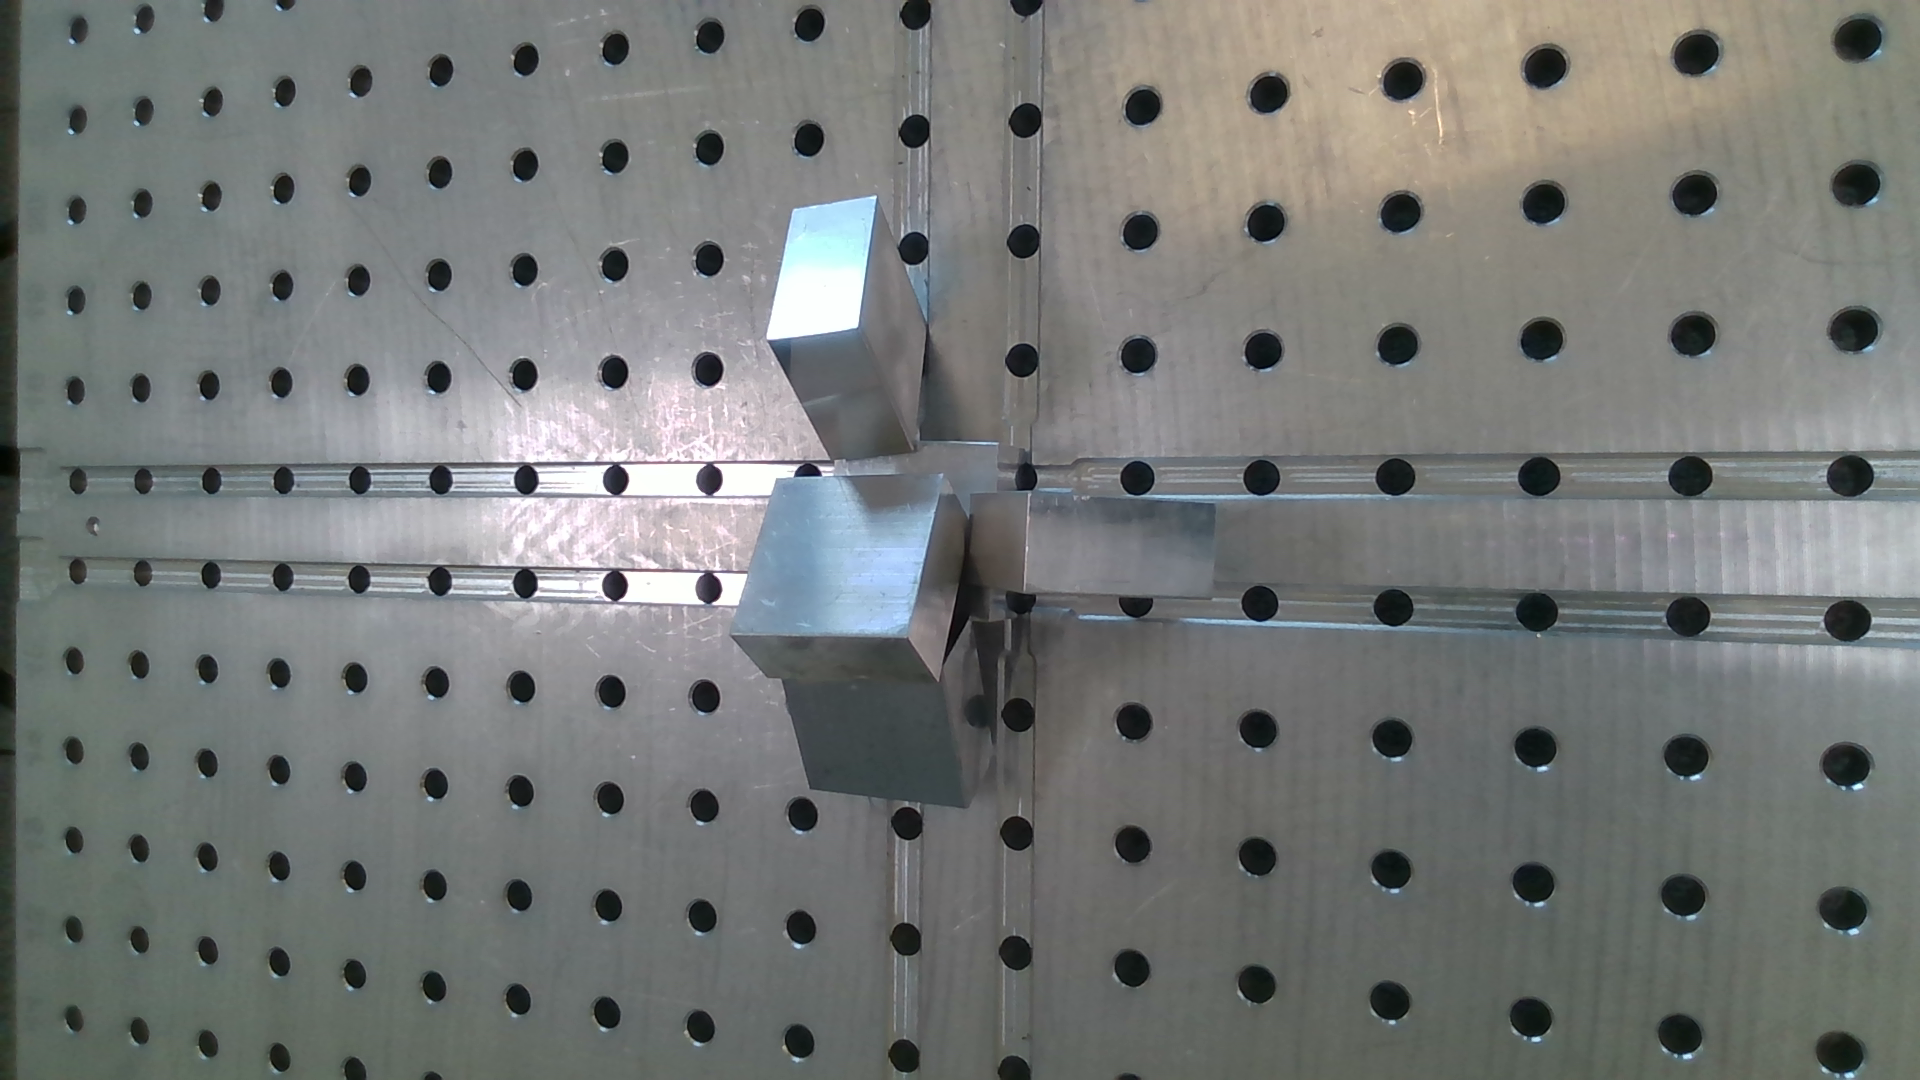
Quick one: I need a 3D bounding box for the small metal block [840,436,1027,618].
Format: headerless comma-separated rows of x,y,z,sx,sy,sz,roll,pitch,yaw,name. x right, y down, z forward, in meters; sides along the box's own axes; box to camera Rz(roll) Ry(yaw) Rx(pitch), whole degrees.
-0.009,-0.004,0.400,0.050,0.025,0.050,3,91,20,small metal block

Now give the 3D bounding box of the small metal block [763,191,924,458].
-0.030,-0.059,0.383,0.025,0.050,0.050,-5,53,14,small metal block

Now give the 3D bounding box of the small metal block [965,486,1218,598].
0.033,0.000,0.360,0.050,0.050,0.025,3,90,-16,small metal block

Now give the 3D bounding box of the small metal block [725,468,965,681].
-0.029,0.009,0.368,0.050,0.025,0.050,-1,57,20,small metal block

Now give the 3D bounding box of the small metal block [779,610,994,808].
-0.021,0.046,0.393,0.050,0.025,0.050,3,122,20,small metal block
